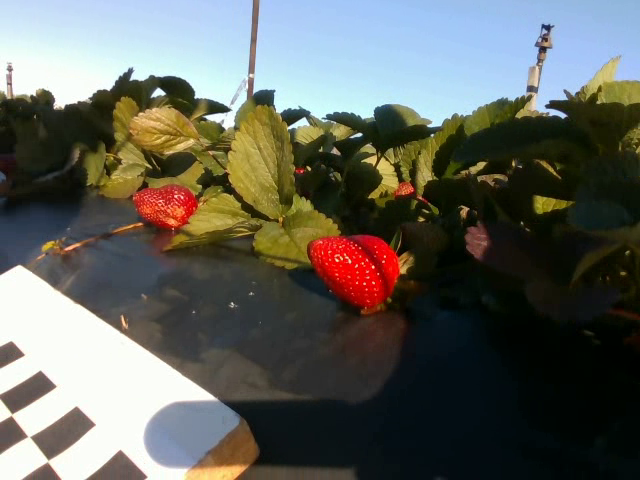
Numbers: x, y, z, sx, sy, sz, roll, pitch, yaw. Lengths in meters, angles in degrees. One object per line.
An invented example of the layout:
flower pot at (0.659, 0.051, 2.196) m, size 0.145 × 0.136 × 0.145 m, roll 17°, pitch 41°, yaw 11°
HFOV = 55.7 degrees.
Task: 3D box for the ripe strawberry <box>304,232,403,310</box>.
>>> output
ripe strawberry at (0.012, 0.012, 0.294) m, size 0.050 × 0.043 × 0.043 m, roll 25°, pitch 22°, yaw -23°

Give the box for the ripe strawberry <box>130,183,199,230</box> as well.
ripe strawberry at (-0.116, -0.025, 0.451) m, size 0.053 × 0.043 × 0.041 m, roll 16°, pitch 10°, yaw -39°
